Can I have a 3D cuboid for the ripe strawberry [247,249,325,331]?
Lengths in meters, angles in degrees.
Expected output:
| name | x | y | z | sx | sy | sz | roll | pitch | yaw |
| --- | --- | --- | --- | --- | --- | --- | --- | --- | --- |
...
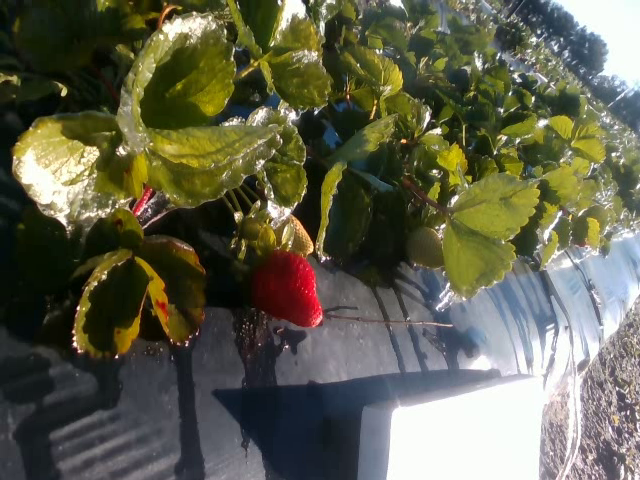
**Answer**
| name | x | y | z | sx | sy | sz | roll | pitch | yaw |
| --- | --- | --- | --- | --- | --- | --- | --- | --- | --- |
| ripe strawberry | -0.009 | 0.025 | 0.248 | 0.039 | 0.040 | 0.039 | -4 | 30 | -43 |
